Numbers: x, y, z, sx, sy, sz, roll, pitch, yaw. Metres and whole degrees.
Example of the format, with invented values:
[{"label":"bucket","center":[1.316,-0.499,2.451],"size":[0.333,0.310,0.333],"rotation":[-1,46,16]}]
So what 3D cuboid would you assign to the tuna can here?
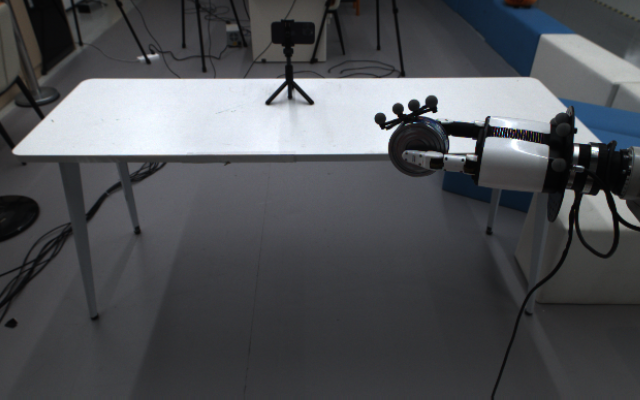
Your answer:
[{"label":"tuna can","center":[0.146,-0.080,0.716],"size":[0.085,0.085,0.034],"rotation":[15,30,17]}]
